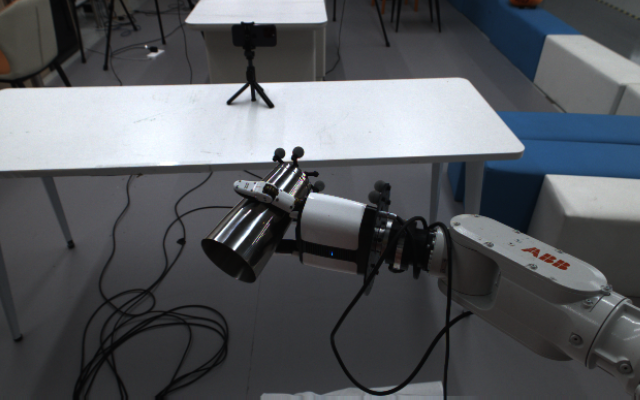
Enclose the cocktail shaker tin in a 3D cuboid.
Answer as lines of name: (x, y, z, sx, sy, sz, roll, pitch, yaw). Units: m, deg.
cocktail shaker tin: (-0.081, 0.020, 0.700, 0.093, 0.093, 0.170, 19, 55, 23)
